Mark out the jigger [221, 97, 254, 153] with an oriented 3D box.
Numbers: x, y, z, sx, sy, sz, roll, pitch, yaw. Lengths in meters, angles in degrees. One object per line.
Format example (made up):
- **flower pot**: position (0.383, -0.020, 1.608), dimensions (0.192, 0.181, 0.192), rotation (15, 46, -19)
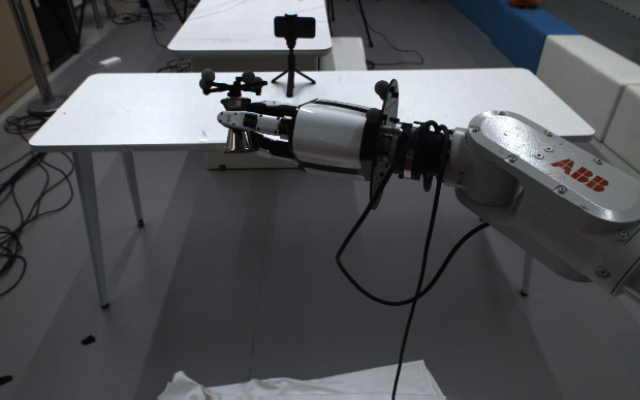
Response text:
- **jigger**: position (-0.108, -0.096, 0.633), dimensions (0.043, 0.071, 0.043), rotation (-4, 1, 0)
